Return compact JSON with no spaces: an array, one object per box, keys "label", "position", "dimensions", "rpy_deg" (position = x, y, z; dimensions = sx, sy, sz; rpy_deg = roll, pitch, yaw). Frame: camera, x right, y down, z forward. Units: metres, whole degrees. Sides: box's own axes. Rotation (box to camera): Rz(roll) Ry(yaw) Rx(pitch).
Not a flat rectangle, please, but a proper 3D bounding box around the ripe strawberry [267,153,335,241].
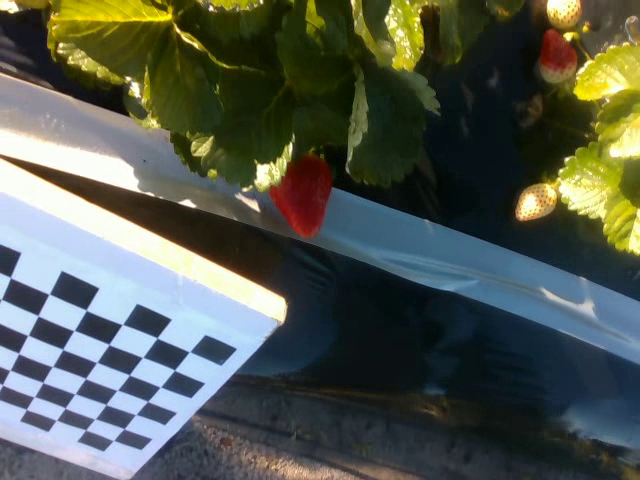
[{"label":"ripe strawberry","position":[-0.013,-0.030,0.368],"dimensions":[0.045,0.064,0.048],"rpy_deg":[-22,-26,26]}]
